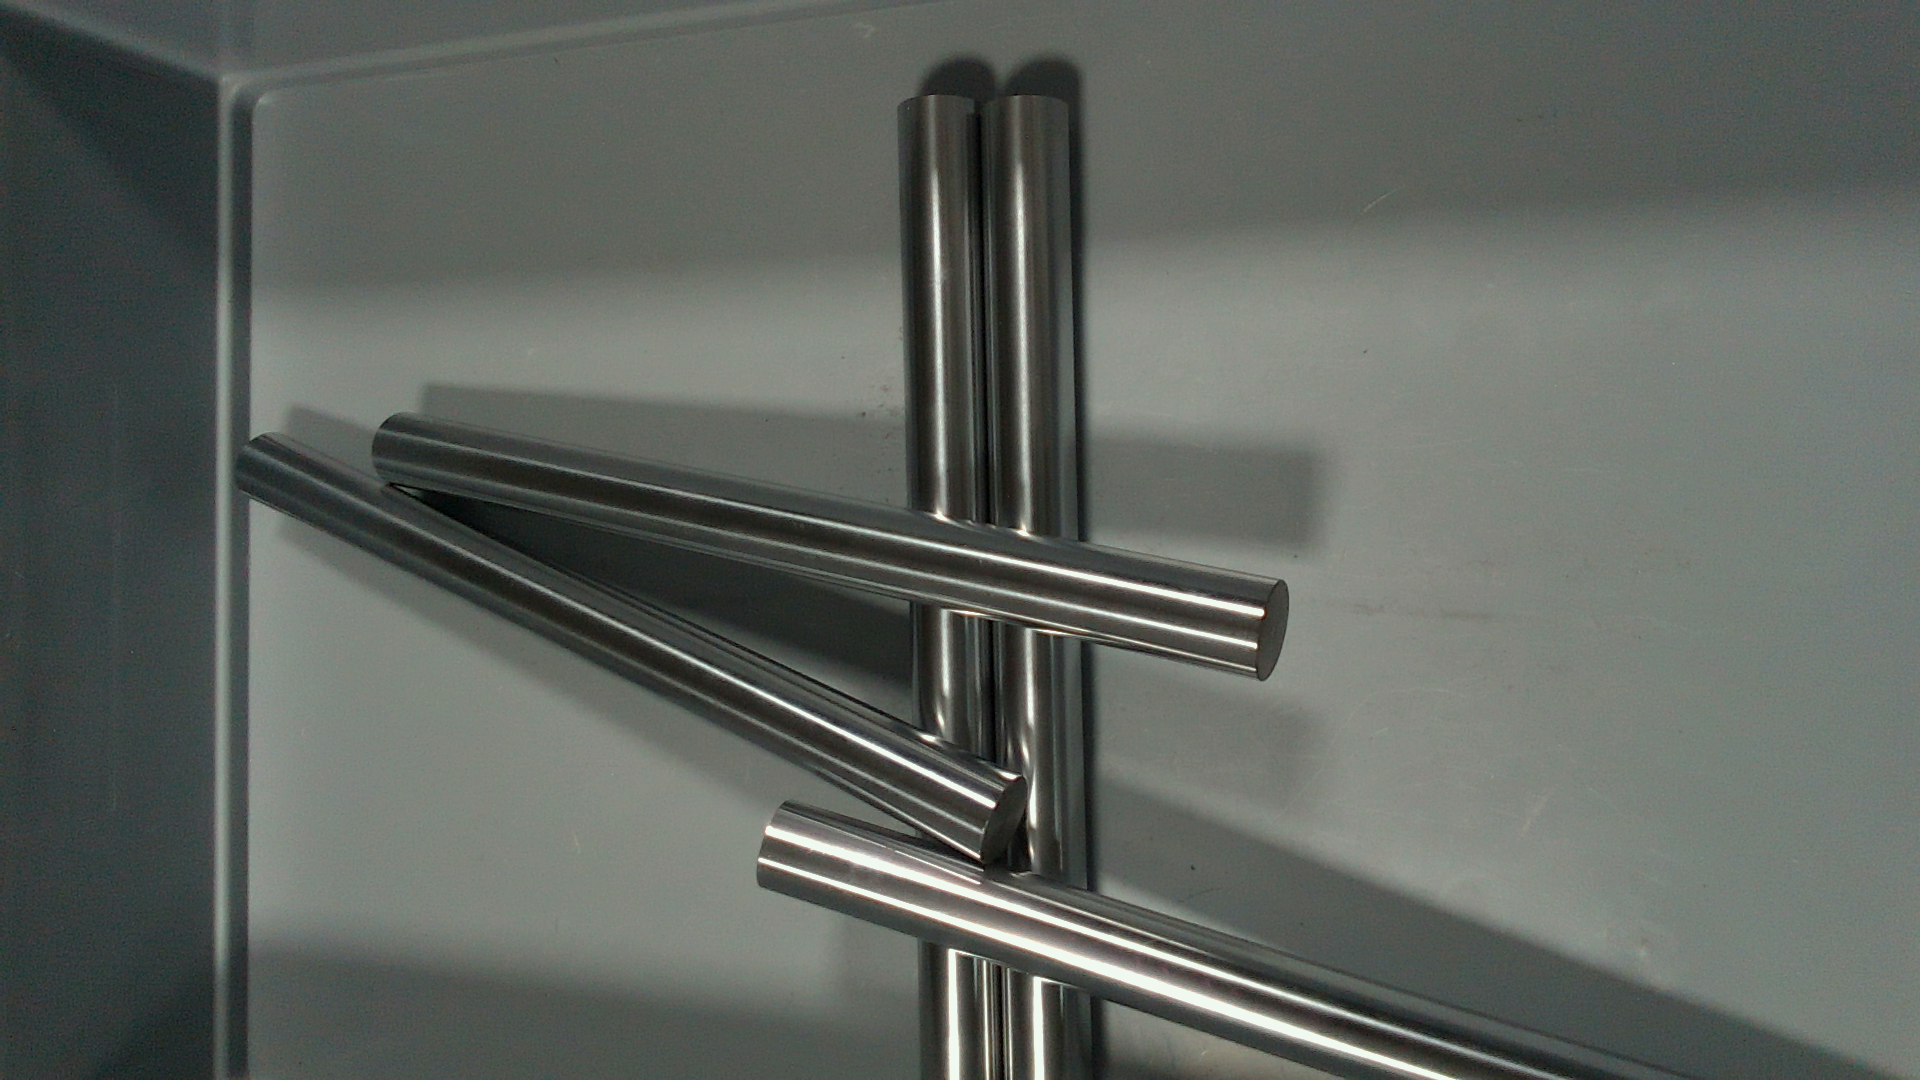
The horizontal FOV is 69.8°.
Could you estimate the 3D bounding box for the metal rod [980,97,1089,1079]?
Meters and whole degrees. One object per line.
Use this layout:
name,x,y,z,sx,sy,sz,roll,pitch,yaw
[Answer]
metal rod,0.021,0.030,0.386,0.025,0.025,0.300,-1,90,20

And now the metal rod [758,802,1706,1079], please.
metal rod,0.091,0.119,0.344,0.299,0.025,0.025,14,95,14

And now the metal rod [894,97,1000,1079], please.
metal rod,-0.003,0.027,0.394,0.025,0.025,0.300,-1,90,20

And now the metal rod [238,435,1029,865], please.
metal rod,-0.115,0.024,0.423,0.299,0.025,0.025,21,97,24

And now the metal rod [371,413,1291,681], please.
metal rod,-0.056,-0.005,0.394,0.299,0.025,0.025,11,94,27
